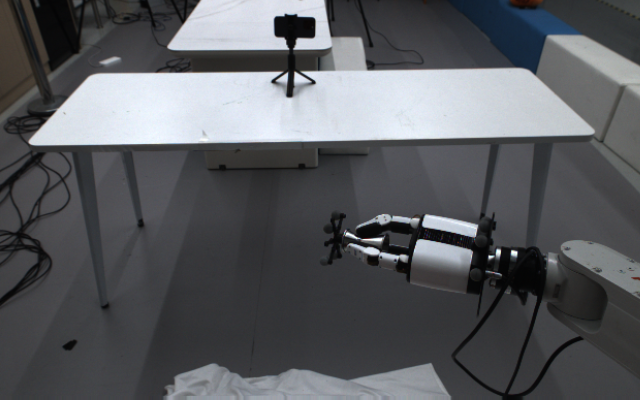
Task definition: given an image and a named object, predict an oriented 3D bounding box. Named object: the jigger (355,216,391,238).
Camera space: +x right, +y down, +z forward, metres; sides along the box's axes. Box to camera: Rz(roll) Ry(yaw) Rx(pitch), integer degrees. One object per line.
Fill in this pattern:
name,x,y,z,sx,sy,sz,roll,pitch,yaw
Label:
jigger,0.079,0.066,0.778,0.071,0.043,0.043,8,34,23
